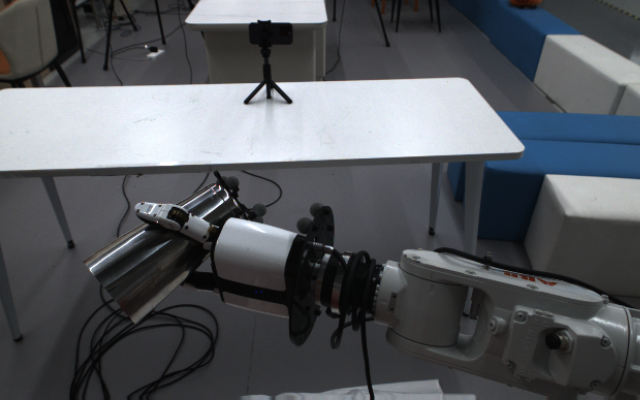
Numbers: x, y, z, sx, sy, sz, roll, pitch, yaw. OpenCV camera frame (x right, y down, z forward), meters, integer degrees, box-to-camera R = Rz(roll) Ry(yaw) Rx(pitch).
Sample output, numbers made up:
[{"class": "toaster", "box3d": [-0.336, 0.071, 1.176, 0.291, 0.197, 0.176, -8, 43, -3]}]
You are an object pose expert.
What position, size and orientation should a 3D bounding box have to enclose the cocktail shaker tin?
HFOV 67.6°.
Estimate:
[{"class": "cocktail shaker tin", "box3d": [-0.175, 0.050, 0.572, 0.170, 0.093, 0.093, -38, 49, -24]}]
